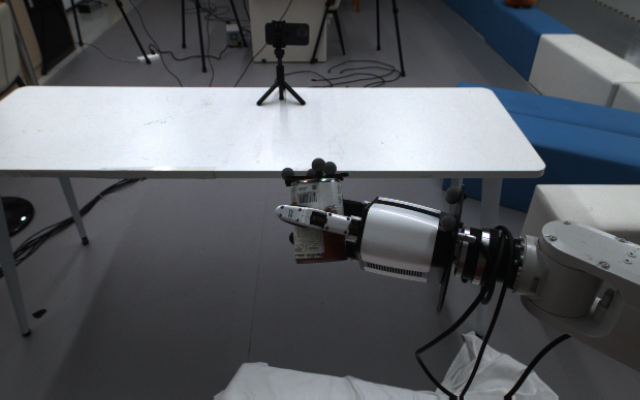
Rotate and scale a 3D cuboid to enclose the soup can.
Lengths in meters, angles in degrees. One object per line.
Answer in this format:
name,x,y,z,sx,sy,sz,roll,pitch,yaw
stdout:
soup can,0.000,0.028,0.615,0.067,0.101,0.067,-5,-5,0
